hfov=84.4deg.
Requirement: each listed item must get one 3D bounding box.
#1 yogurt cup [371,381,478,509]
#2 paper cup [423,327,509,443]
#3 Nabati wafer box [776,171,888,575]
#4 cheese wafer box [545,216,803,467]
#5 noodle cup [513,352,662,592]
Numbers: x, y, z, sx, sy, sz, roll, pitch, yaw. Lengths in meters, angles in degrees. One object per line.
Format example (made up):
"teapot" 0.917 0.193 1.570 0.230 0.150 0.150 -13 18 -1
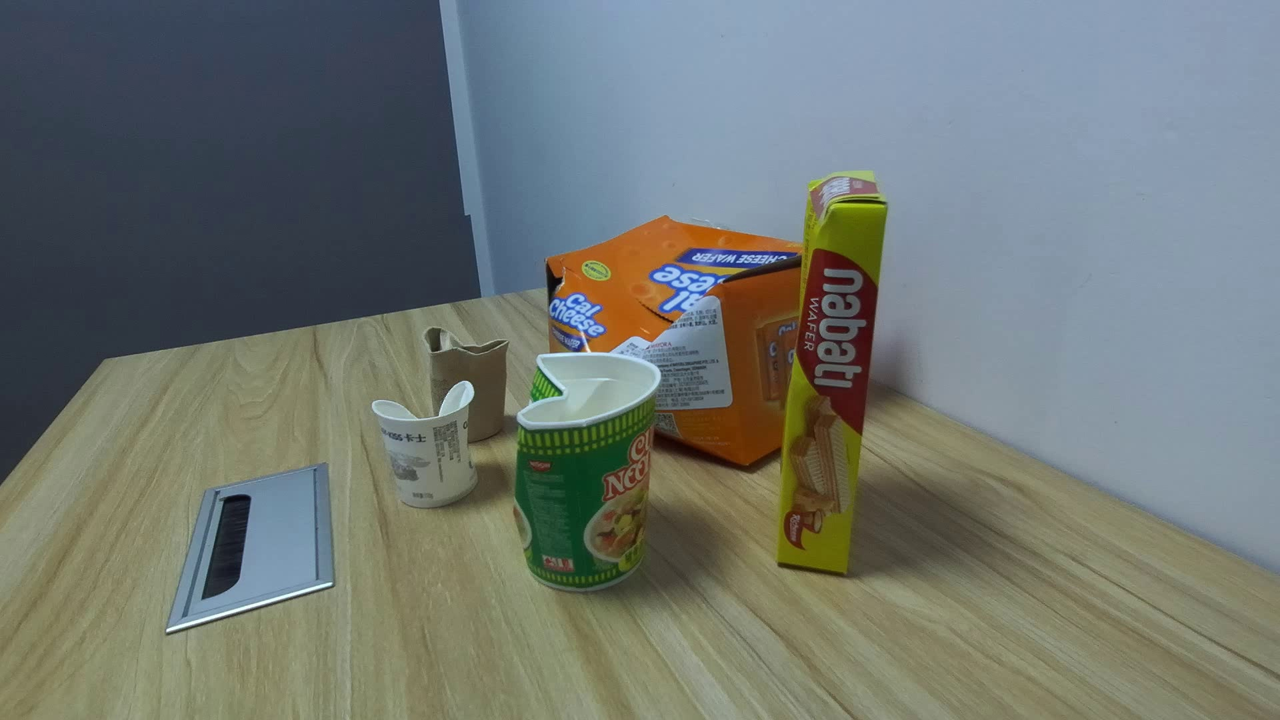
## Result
"yogurt cup" -0.139 0.057 0.475 0.067 0.070 0.067 -1 20 1
"paper cup" -0.138 0.018 0.565 0.058 0.083 0.066 -9 22 -22
"Nabati wafer box" 0.101 0.006 0.383 0.042 0.203 0.096 5 25 16
"cheese wafer box" 0.037 -0.028 0.562 0.192 0.145 0.218 -20 26 -41
"noodle cup" -0.031 0.063 0.386 0.086 0.109 0.094 5 24 20
